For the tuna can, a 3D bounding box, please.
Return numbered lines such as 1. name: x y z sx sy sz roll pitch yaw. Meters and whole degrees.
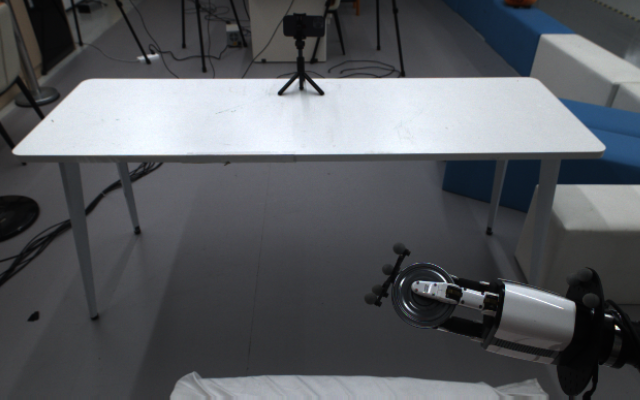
1. tuna can: 0.142 0.125 0.646 0.085 0.034 0.085 -2 71 5
